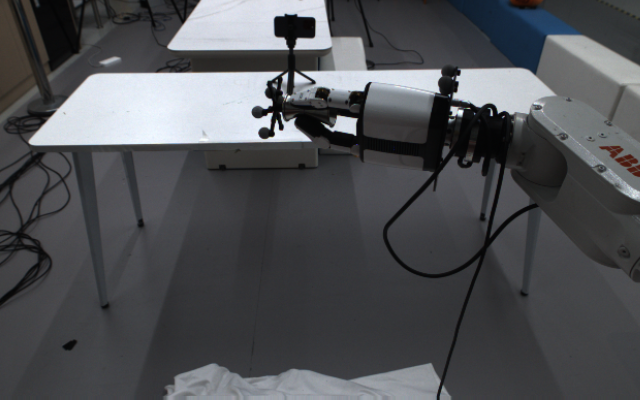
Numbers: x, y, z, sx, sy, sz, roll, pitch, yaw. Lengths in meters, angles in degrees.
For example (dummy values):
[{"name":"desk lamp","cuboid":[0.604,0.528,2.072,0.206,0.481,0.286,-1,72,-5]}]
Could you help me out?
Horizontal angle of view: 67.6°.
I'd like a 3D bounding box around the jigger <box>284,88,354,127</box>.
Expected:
[{"name":"jigger","cuboid":[-0.008,-0.130,0.669,0.071,0.043,0.043,8,35,15]}]
